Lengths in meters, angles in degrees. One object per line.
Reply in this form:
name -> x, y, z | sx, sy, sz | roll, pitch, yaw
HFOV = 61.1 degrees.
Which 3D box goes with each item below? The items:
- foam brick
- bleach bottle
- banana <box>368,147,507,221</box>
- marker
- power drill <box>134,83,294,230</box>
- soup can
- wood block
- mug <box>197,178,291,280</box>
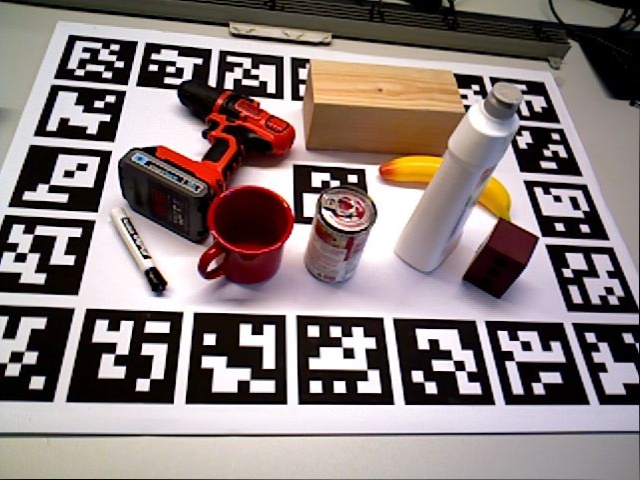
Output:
foam brick -> 0.215, 0.029, 0.640 | 0.053, 0.080, 0.050 | 30, 53, 13
bleach bottle -> 0.150, -0.065, 0.582 | 0.068, 0.257, 0.100 | 27, 53, 9
banana -> 0.162, -0.087, 0.729 | 0.196, 0.039, 0.073 | 17, 68, -1
marker -> -0.210, 0.014, 0.610 | 0.019, 0.020, 0.120 | -25, 64, -23
power drill -> -0.147, -0.113, 0.688 | 0.184, 0.059, 0.183 | 29, 54, 6
soup can -> 0.018, -0.008, 0.604 | 0.067, 0.104, 0.067 | 6, 50, -8
wood block -> 0.083, -0.177, 0.749 | 0.204, 0.093, 0.088 | 3, 56, -9
mug -> -0.091, -0.002, 0.599 | 0.093, 0.083, 0.115 | 40, 61, 15
